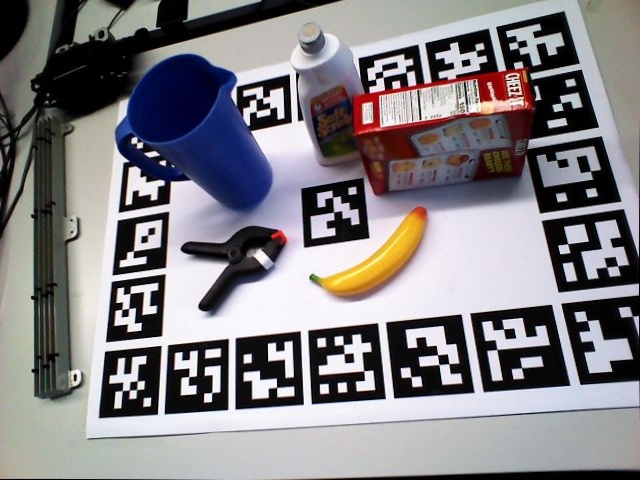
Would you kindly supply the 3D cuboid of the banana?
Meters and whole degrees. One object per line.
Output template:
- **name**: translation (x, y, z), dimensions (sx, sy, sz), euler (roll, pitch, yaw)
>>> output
- **banana**: translation (0.120, 0.029, 0.741), dimensions (0.197, 0.039, 0.074), euler (-41, 63, -2)

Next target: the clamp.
- **clamp**: translation (-0.097, 0.041, 0.791), dimensions (0.165, 0.036, 0.121), euler (-24, 62, 4)

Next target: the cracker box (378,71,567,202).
- **cracker box**: translation (0.197, -0.131, 0.689), dimensions (0.215, 0.164, 0.071), euler (-9, 63, 14)

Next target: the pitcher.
- **pitcher**: translation (-0.148, -0.124, 0.735), dimensions (0.189, 0.243, 0.133), euler (-26, 63, 2)

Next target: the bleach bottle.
- **bleach bottle**: translation (0.035, -0.185, 0.728), dimensions (0.103, 0.251, 0.067), euler (-10, 65, 12)
